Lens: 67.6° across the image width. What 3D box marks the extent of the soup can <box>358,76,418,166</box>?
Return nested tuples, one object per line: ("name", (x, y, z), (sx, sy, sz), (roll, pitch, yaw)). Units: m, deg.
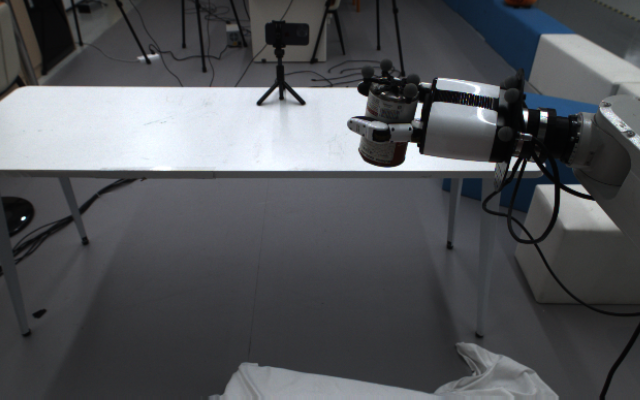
("soup can", (0.093, -0.106, 0.664), (0.067, 0.101, 0.067), (5, 37, -4))
